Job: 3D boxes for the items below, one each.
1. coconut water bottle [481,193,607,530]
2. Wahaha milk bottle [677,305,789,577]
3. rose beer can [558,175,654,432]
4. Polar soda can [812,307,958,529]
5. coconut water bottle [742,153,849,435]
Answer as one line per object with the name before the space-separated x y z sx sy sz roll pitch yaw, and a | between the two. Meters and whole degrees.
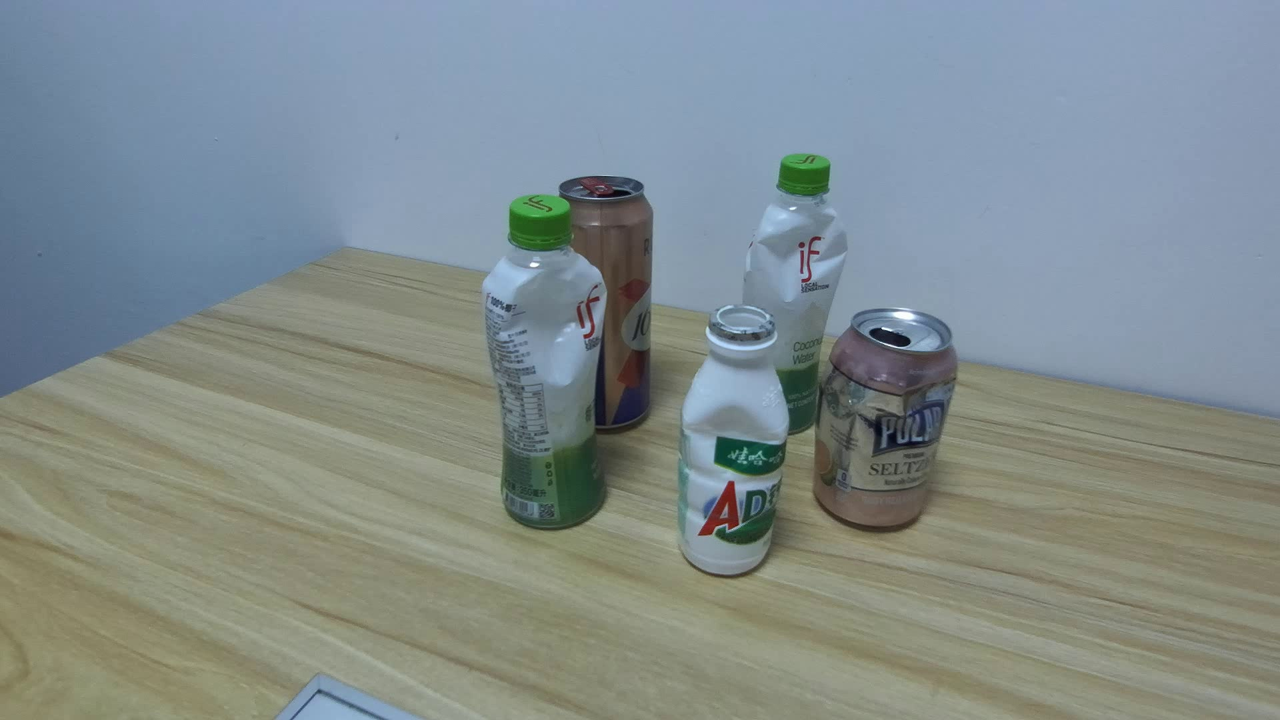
coconut water bottle | -0.051 0.003 0.396 0.069 0.187 0.069 2 27 -1
Wahaha milk bottle | 0.048 0.044 0.367 0.056 0.148 0.056 1 30 0
rose beer can | -0.025 -0.035 0.492 0.068 0.169 0.068 1 24 0
Polar soda can | 0.140 0.035 0.416 0.074 0.122 0.067 12 30 16
coconut water bottle | 0.099 -0.041 0.476 0.067 0.187 0.067 1 29 0
